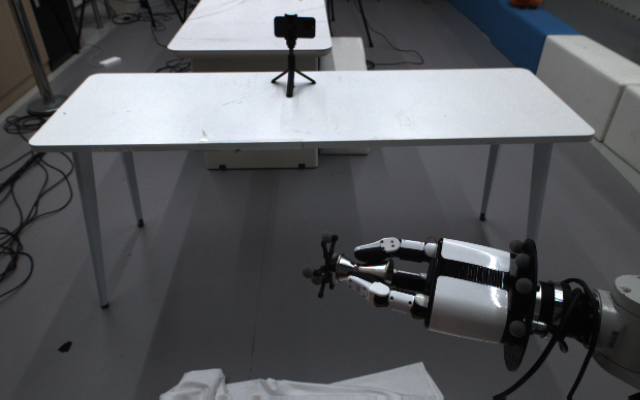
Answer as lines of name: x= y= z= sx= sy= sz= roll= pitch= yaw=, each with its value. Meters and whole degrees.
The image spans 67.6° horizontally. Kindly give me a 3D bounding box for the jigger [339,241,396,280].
jigger: x=0.066 y=0.087 z=0.635 sx=0.071 sy=0.043 sz=0.043 roll=5 pitch=34 yaw=21
